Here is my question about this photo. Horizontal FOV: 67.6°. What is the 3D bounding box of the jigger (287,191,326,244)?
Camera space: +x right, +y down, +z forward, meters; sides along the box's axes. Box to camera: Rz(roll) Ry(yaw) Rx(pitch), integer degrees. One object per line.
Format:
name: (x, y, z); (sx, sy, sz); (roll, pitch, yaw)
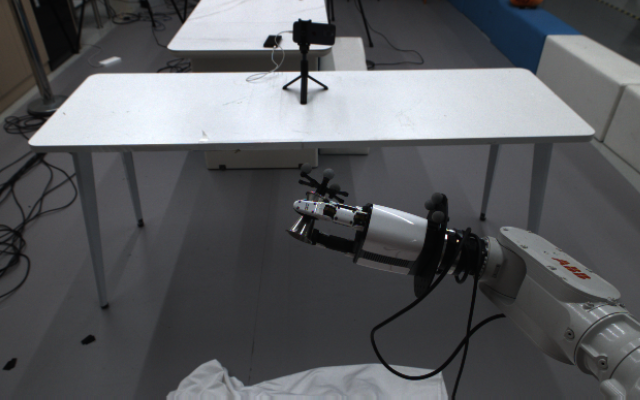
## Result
jigger: (-0.018, 0.023, 0.720); (0.043, 0.043, 0.071); (20, 73, 24)
